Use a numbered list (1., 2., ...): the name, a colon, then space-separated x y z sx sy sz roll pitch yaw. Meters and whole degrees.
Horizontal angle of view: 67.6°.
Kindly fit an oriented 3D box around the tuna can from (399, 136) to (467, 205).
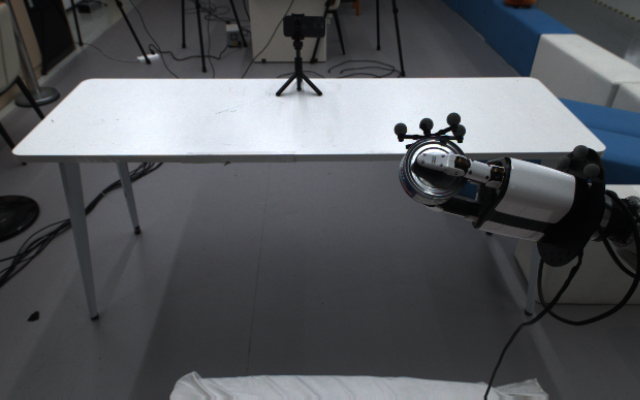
1. tuna can: 0.149 -0.039 0.635 0.085 0.034 0.085 1 73 -4
